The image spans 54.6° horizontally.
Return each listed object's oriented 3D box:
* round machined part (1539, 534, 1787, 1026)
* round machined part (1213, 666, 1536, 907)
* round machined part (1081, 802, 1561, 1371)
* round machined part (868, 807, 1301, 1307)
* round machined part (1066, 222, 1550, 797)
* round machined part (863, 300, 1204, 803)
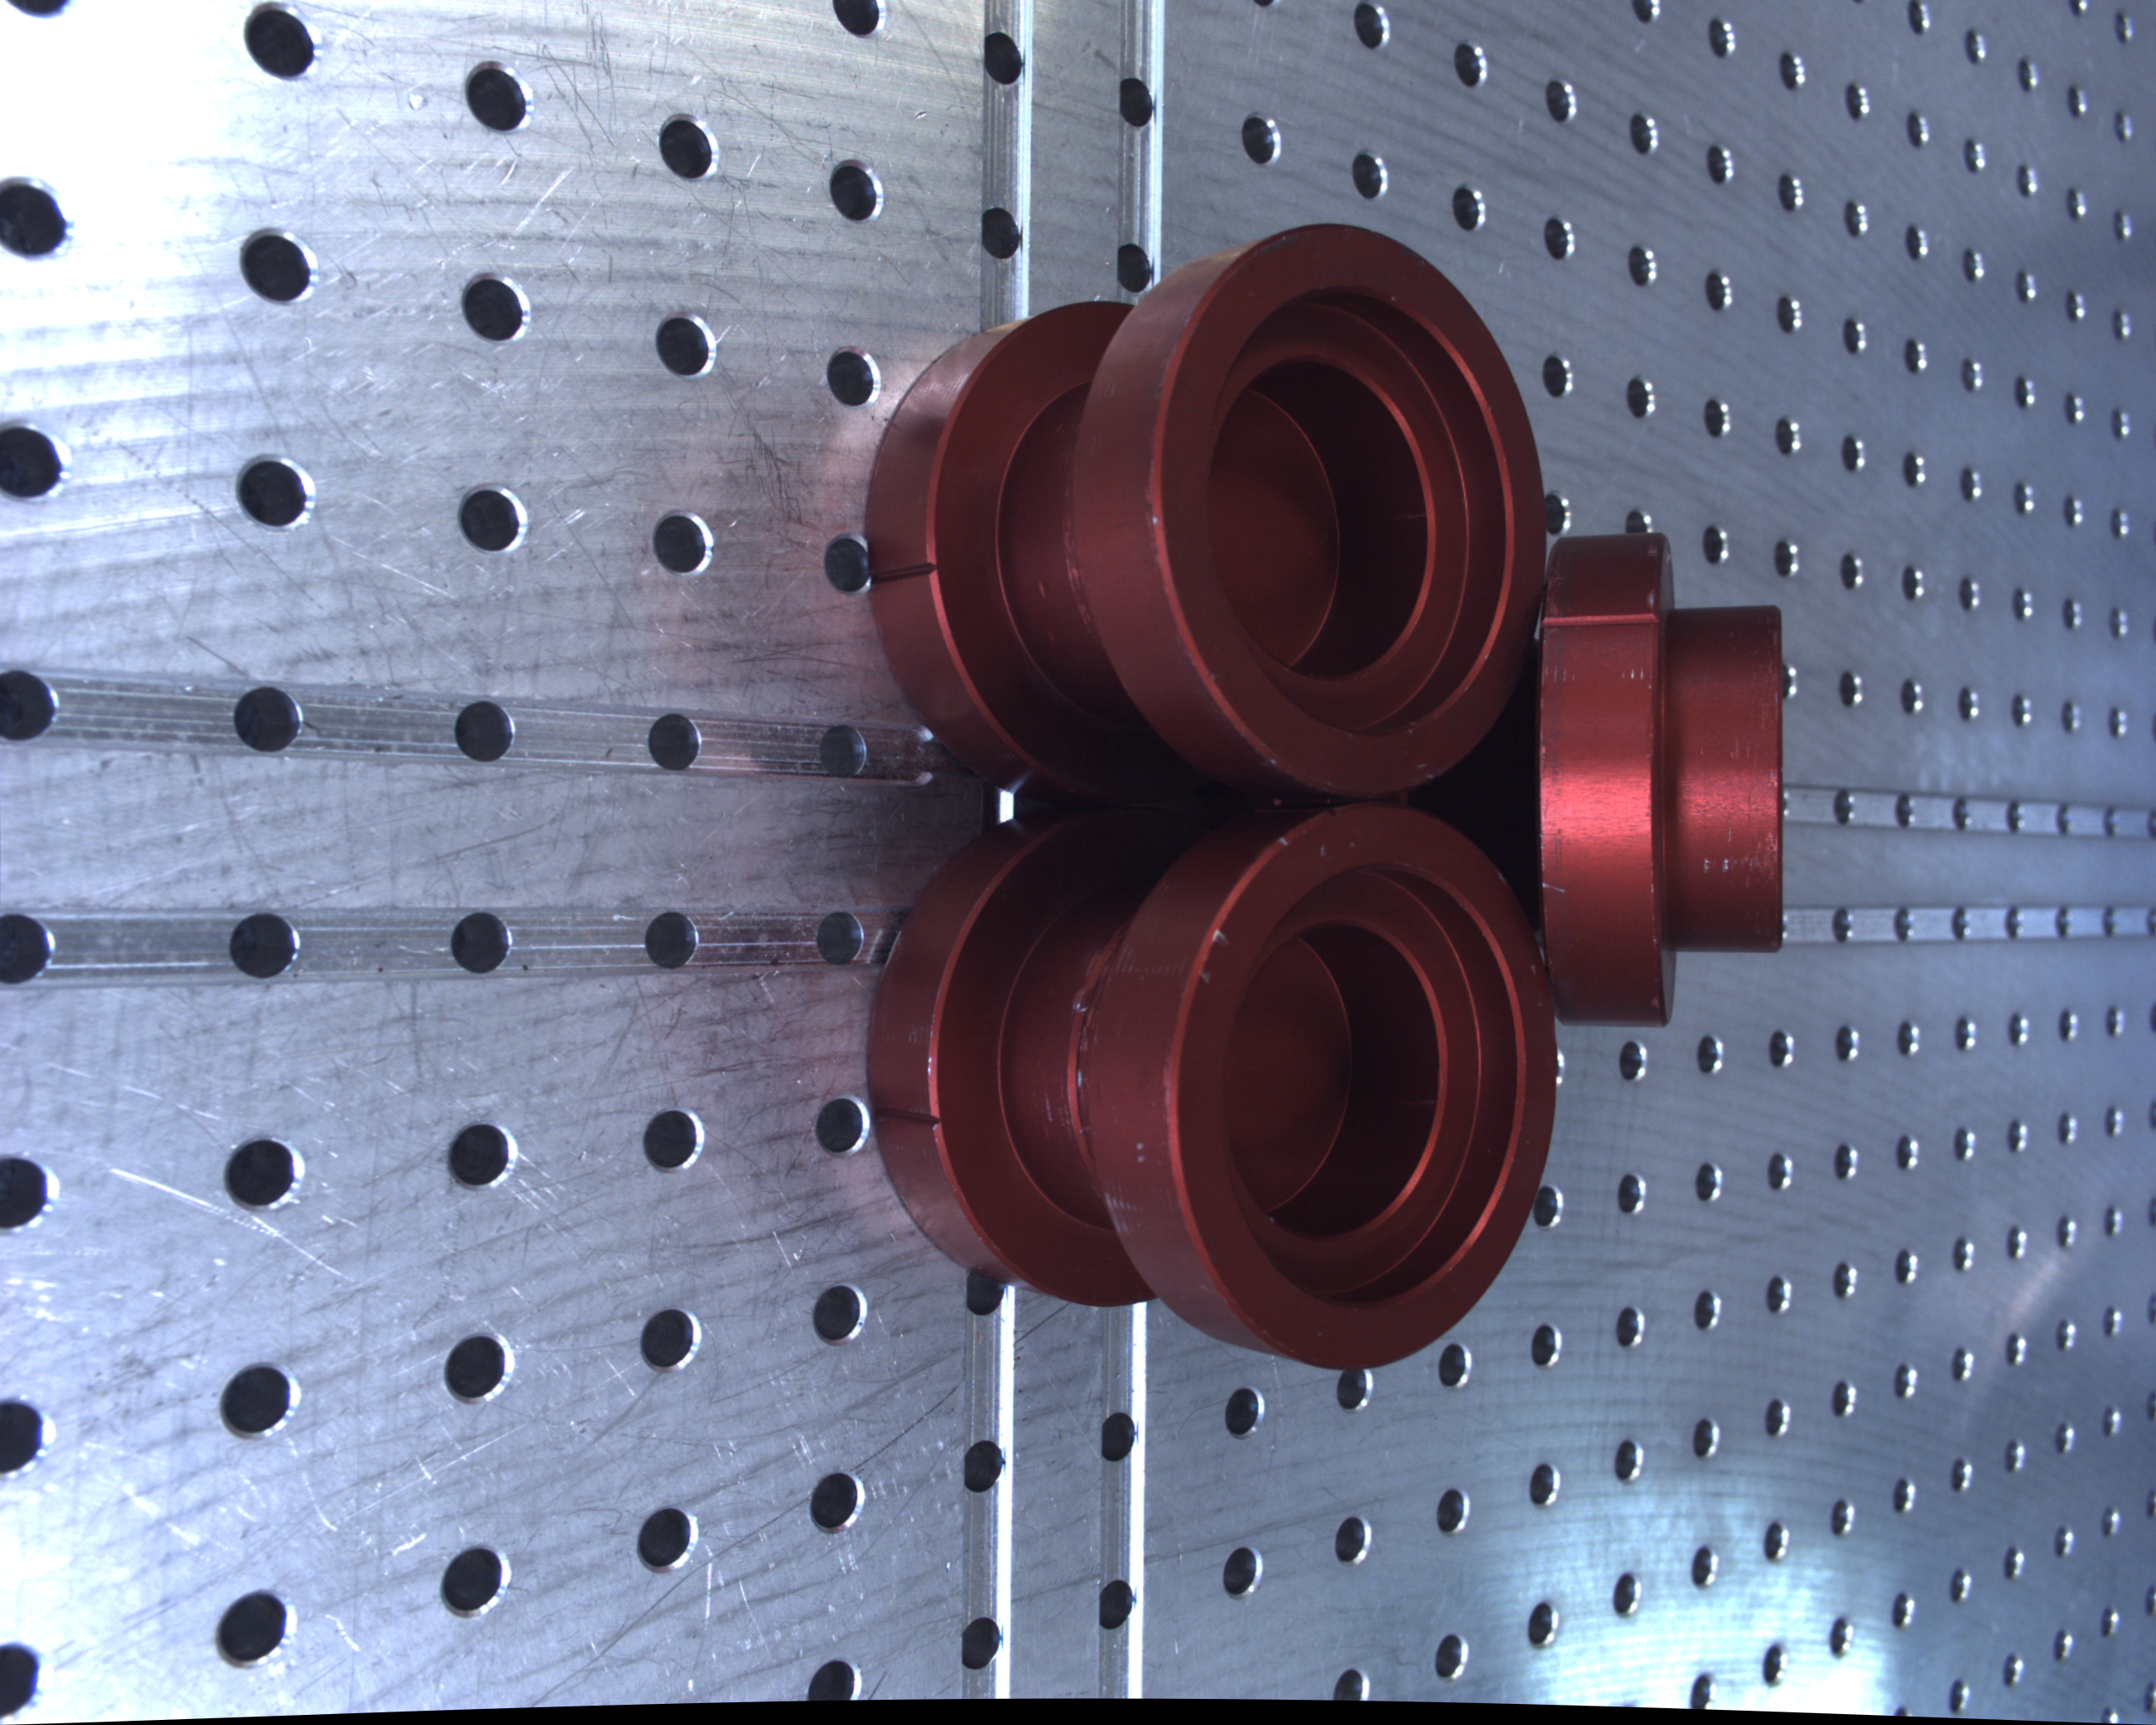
[{"bbox_3d":[0.118,-0.016,0.413,0.098,0.042,0.097,-1,90,-72],"label":"round machined part"},{"bbox_3d":[0.080,-0.017,0.464,0.099,0.042,0.097,0,90,-40],"label":"round machined part"},{"bbox_3d":[0.040,0.038,0.375,0.099,0.042,0.097,0,90,-40],"label":"round machined part"},{"bbox_3d":[0.011,0.038,0.407,0.099,0.042,0.097,0,90,-40],"label":"round machined part"},{"bbox_3d":[0.037,-0.060,0.372,0.099,0.042,0.097,0,90,-40],"label":"round machined part"},{"bbox_3d":[0.010,-0.060,0.407,0.099,0.042,0.097,0,90,-40],"label":"round machined part"}]
